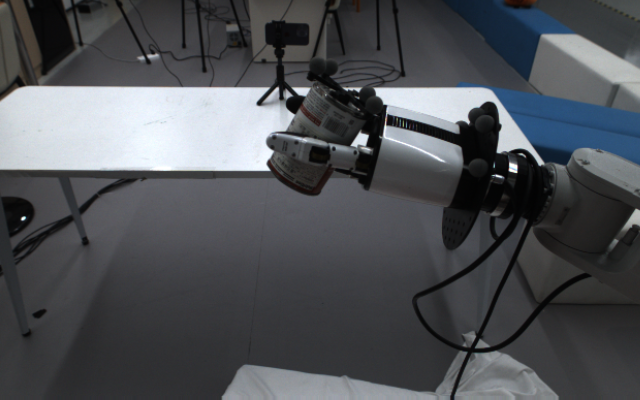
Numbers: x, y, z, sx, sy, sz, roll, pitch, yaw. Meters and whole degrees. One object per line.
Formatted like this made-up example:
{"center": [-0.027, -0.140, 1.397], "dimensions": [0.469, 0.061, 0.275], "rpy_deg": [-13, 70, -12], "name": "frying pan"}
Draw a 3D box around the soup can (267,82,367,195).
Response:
{"center": [-0.001, -0.065, 0.514], "dimensions": [0.067, 0.101, 0.067], "rpy_deg": [28, 22, -12], "name": "soup can"}
